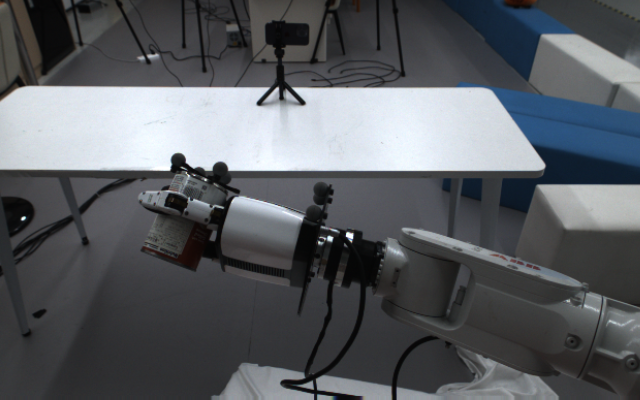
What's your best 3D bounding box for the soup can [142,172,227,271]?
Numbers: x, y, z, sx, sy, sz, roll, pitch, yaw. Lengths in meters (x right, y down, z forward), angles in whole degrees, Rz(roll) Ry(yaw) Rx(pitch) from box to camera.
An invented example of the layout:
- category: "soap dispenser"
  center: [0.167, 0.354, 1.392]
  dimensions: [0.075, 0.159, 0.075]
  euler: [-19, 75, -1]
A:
- category: "soup can"
  center: [-0.156, 0.027, 0.569]
  dimensions: [0.067, 0.067, 0.101]
  euler: [16, 75, 19]
